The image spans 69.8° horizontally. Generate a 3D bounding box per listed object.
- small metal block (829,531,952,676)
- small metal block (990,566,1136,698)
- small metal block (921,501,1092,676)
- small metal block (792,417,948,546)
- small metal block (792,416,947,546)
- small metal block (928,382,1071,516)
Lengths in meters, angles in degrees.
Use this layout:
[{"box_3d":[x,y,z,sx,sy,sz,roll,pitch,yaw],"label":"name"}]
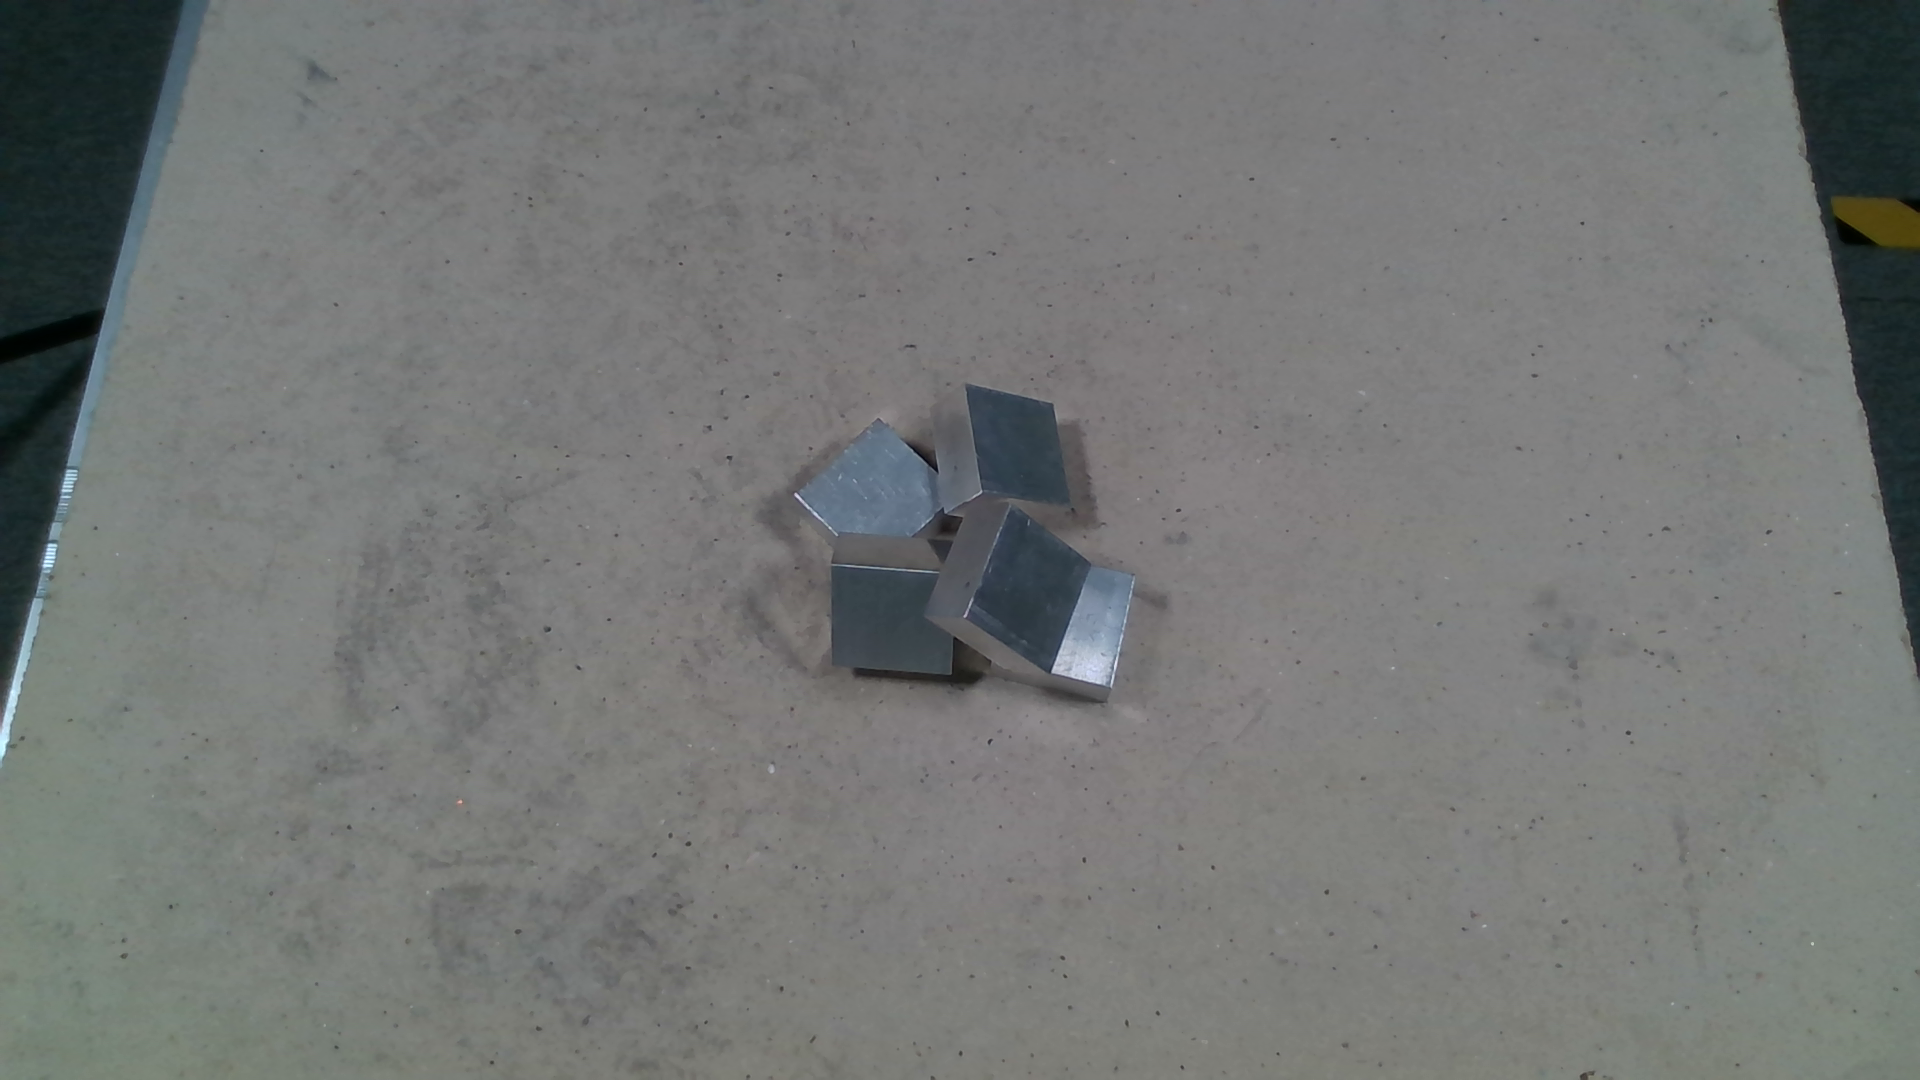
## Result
[{"box_3d":[-0.027,0.026,0.563,0.050,0.050,0.025,4,32,1],"label":"small metal block"},{"box_3d":[0.043,0.036,0.576,0.050,0.025,0.050,13,71,5],"label":"small metal block"},{"box_3d":[0.019,0.019,0.540,0.050,0.025,0.050,35,68,-34],"label":"small metal block"},{"box_3d":[-0.036,-0.016,0.594,0.050,0.025,0.050,43,76,14],"label":"small metal block"},{"box_3d":[-0.036,-0.016,0.594,0.050,0.025,0.050,43,75,14],"label":"small metal block"},{"box_3d":[0.017,-0.035,0.588,0.050,0.025,0.050,7,65,-38],"label":"small metal block"}]
